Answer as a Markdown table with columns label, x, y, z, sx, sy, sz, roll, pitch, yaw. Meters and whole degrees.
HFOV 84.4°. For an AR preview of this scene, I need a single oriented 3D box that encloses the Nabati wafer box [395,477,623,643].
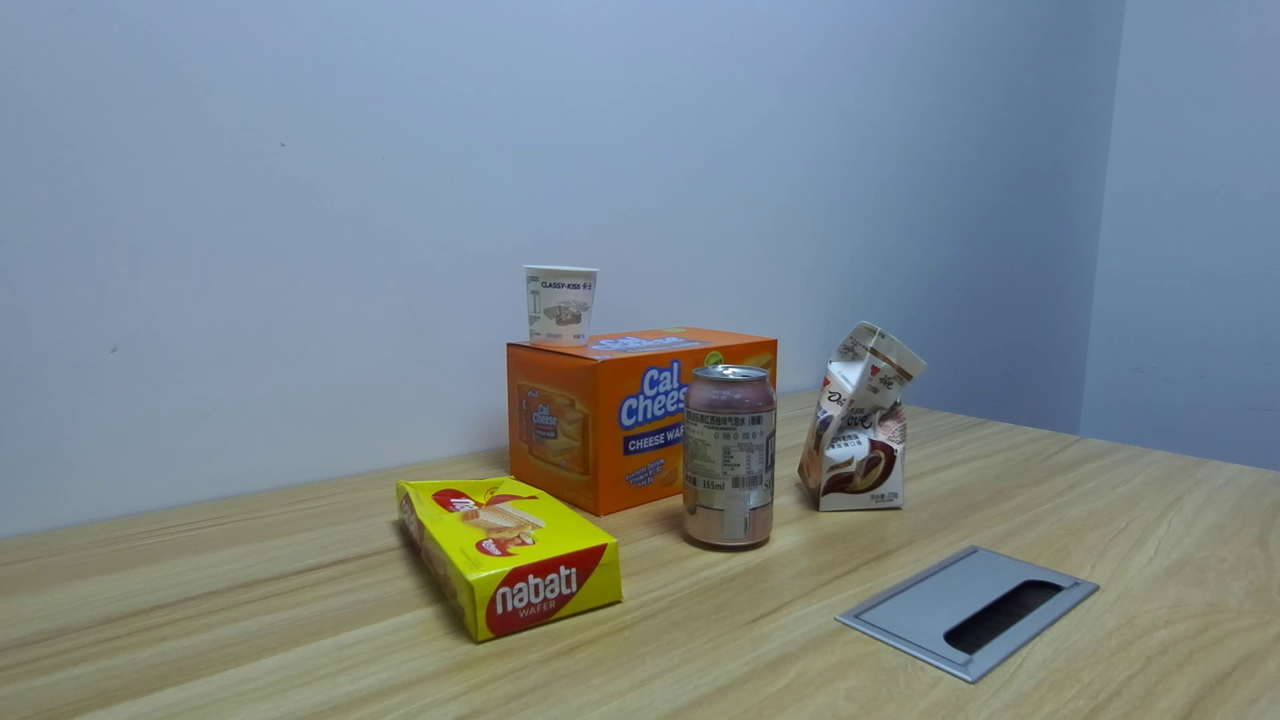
| label | x | y | z | sx | sy | sz | roll | pitch | yaw |
| --- | --- | --- | --- | --- | --- | --- | --- | --- | --- |
| Nabati wafer box | -0.099 | 0.116 | 0.480 | 0.097 | 0.042 | 0.202 | -6 | 10 | -28 |

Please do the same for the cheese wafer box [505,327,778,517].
| label | x | y | z | sx | sy | sz | roll | pitch | yaw |
| --- | --- | --- | --- | --- | --- | --- | --- | --- | --- |
| cheese wafer box | 0.006 | 0.045 | 0.670 | 0.223 | 0.129 | 0.147 | -7 | 12 | -40 |

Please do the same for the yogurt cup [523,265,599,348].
| label | x | y | z | sx | sy | sz | roll | pitch | yaw |
| --- | --- | --- | --- | --- | --- | --- | --- | --- | --- |
| yogurt cup | -0.071 | -0.048 | 0.636 | 0.072 | 0.068 | 0.072 | 2 | 8 | 0 |

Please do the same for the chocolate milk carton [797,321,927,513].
| label | x | y | z | sx | sy | sz | roll | pitch | yaw |
| --- | --- | --- | --- | --- | --- | --- | --- | --- | --- |
| chocolate milk carton | 0.188 | 0.049 | 0.590 | 0.089 | 0.155 | 0.076 | 14 | 10 | -10 |

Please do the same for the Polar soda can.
| label | x | y | z | sx | sy | sz | roll | pitch | yaw |
| --- | --- | --- | --- | --- | --- | --- | --- | --- | --- |
| Polar soda can | 0.065 | 0.069 | 0.512 | 0.067 | 0.125 | 0.067 | 0 | 6 | 0 |
